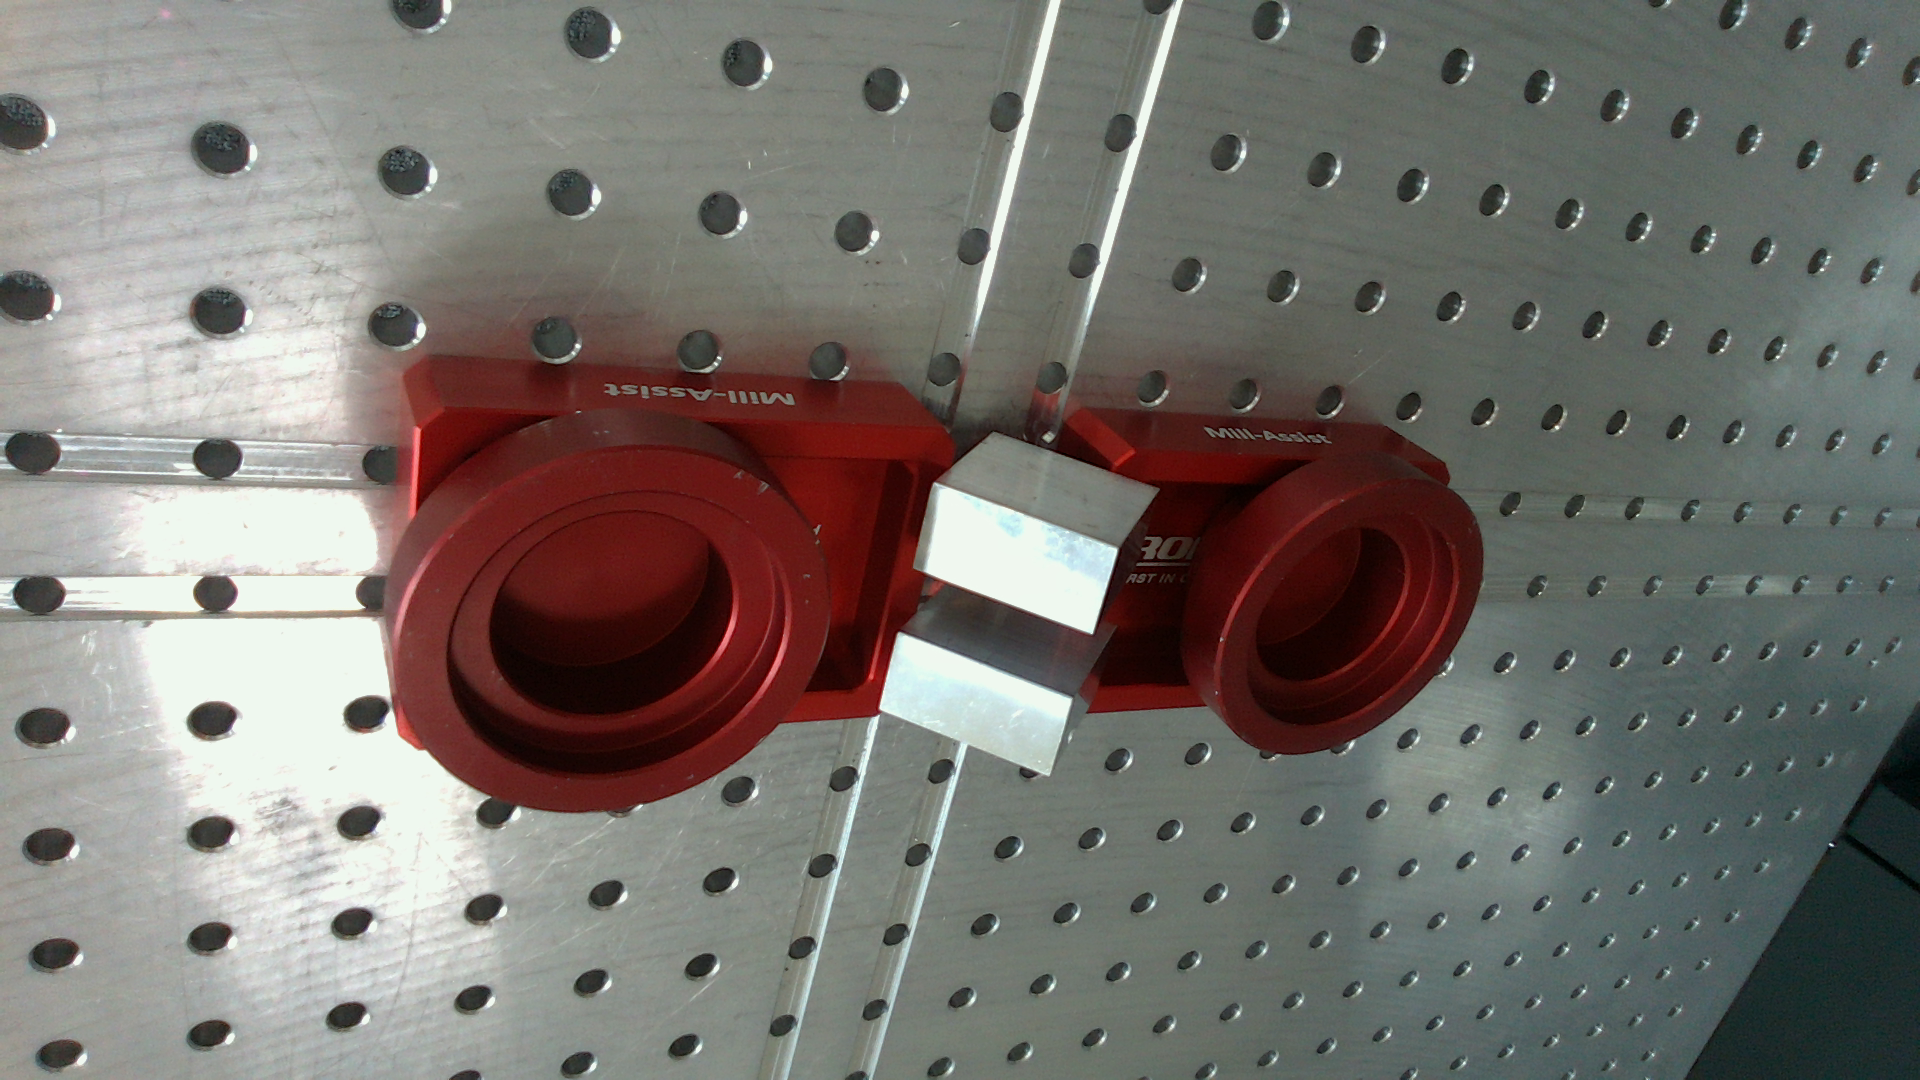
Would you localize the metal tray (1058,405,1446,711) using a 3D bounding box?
[{"bbox_3d":[0.084,0.007,0.440,0.130,0.030,0.090,0,118,-29],"label":"metal tray"}]

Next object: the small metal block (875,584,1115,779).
[{"bbox_3d":[0.011,0.035,0.385,0.050,0.050,0.025,20,115,12],"label":"small metal block"}]

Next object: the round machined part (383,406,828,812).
[{"bbox_3d":[-0.085,0.013,0.327,0.098,0.042,0.098,-14,124,-21],"label":"round machined part"}]

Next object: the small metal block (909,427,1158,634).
[{"bbox_3d":[0.021,-0.004,0.366,0.050,0.050,0.025,20,115,12],"label":"small metal block"}]

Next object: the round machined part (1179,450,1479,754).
[{"bbox_3d":[0.111,0.016,0.435,0.098,0.042,0.098,-14,124,-21],"label":"round machined part"}]

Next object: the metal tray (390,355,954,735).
[{"bbox_3d":[-0.074,0.003,0.352,0.130,0.030,0.090,-1,121,-28],"label":"metal tray"}]
